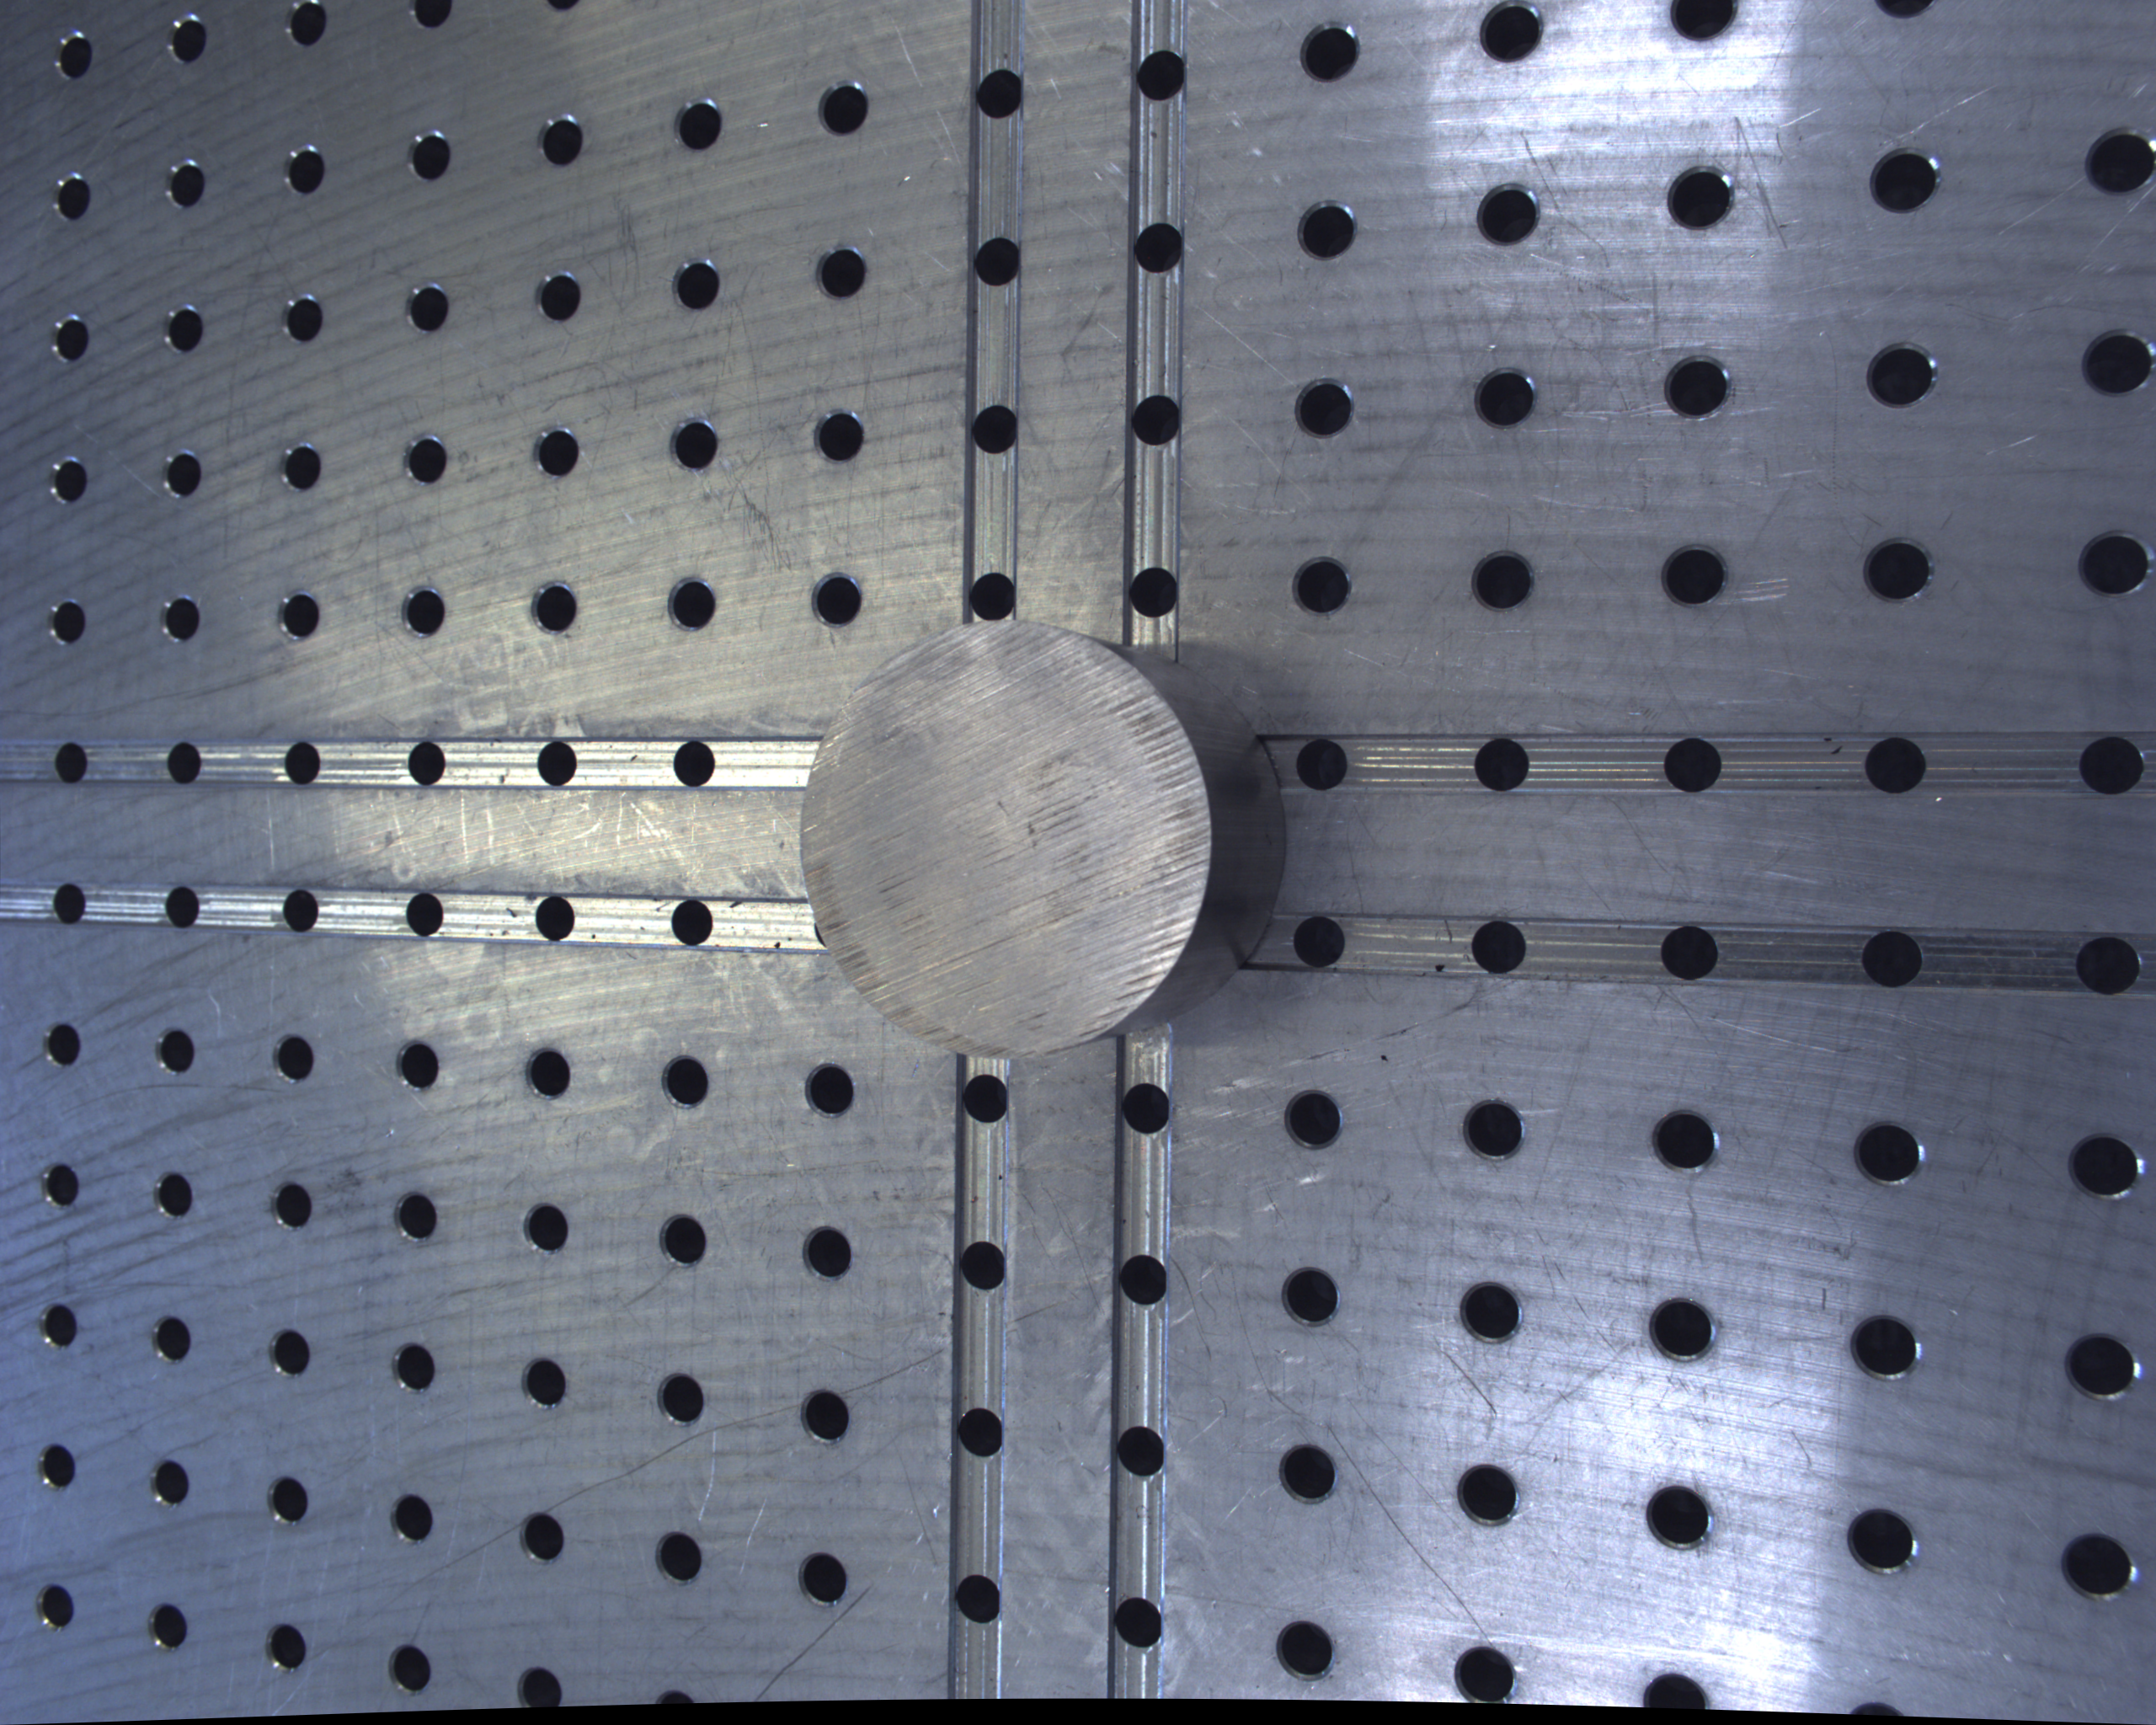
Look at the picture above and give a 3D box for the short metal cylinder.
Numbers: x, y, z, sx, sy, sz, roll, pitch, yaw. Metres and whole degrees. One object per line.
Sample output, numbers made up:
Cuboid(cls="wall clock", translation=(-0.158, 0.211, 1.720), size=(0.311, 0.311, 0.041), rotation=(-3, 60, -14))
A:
Cuboid(cls="short metal cylinder", translation=(-0.006, -0.004, 0.402), size=(0.080, 0.050, 0.080), rotation=(0, 90, 20))
